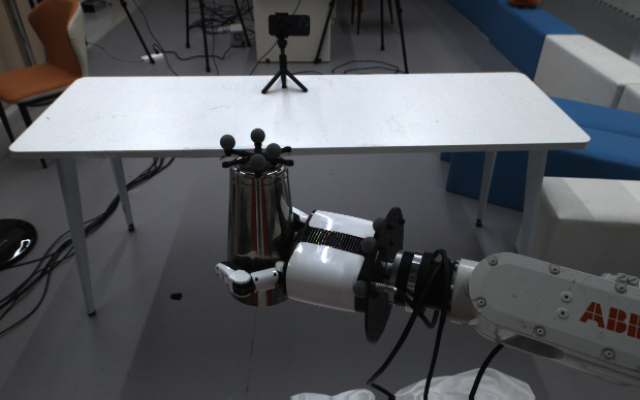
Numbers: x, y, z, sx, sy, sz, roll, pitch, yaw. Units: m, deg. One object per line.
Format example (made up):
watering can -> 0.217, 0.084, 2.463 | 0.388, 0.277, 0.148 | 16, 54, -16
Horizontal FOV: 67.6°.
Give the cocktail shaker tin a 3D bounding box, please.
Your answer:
cocktail shaker tin -> -0.070, 0.034, 0.590 | 0.093, 0.170, 0.093 | 1, 28, -1
